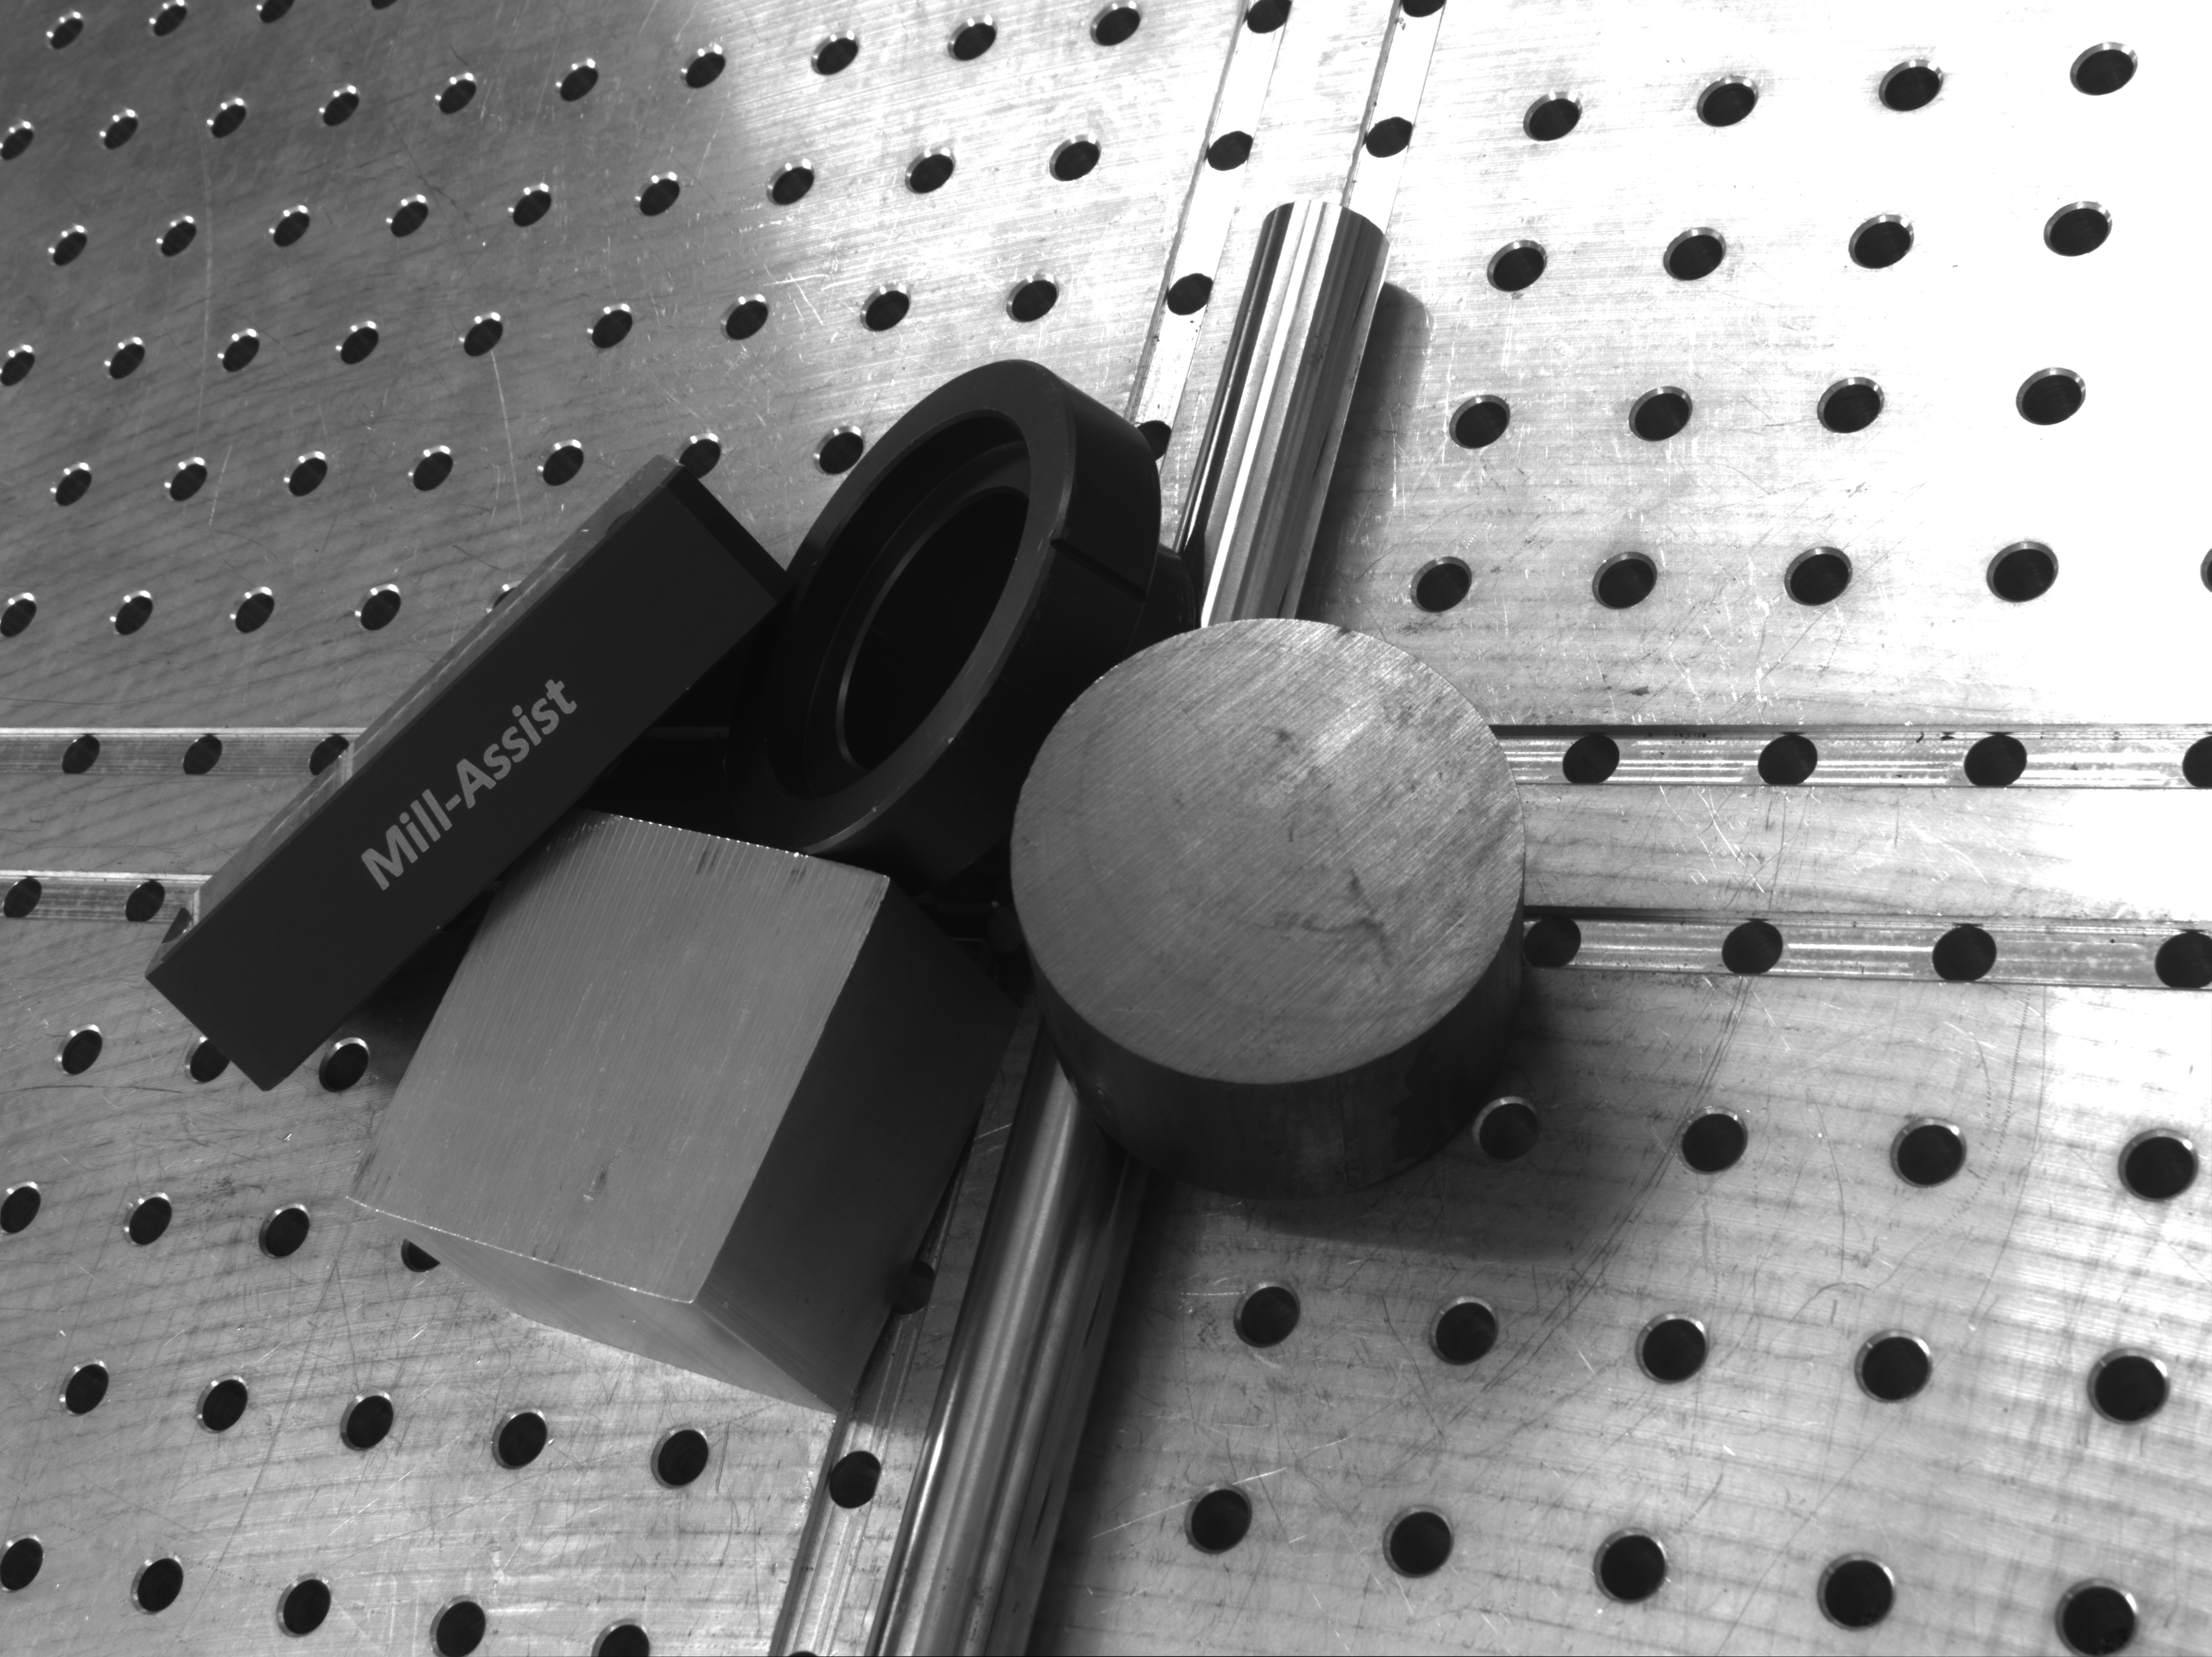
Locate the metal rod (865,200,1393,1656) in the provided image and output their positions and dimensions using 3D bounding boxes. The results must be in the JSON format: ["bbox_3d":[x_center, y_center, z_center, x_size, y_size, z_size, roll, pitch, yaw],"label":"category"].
[{"bbox_3d":[0.005,0.020,0.634,0.025,0.025,0.300,1,62,29],"label":"metal rod"}]

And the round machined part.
[{"bbox_3d":[-0.022,-0.031,0.652,0.098,0.042,0.098,-38,35,34],"label":"round machined part"}]

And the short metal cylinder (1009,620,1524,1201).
[{"bbox_3d":[0.027,0.014,0.593,0.080,0.050,0.080,-2,63,5],"label":"short metal cylinder"}]

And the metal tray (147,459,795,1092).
[{"bbox_3d":[-0.118,-0.014,0.686,0.130,0.030,0.090,-44,12,-2],"label":"metal tray"}]

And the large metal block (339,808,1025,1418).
[{"bbox_3d":[-0.073,0.048,0.643,0.080,0.050,0.080,11,67,33],"label":"large metal block"}]
